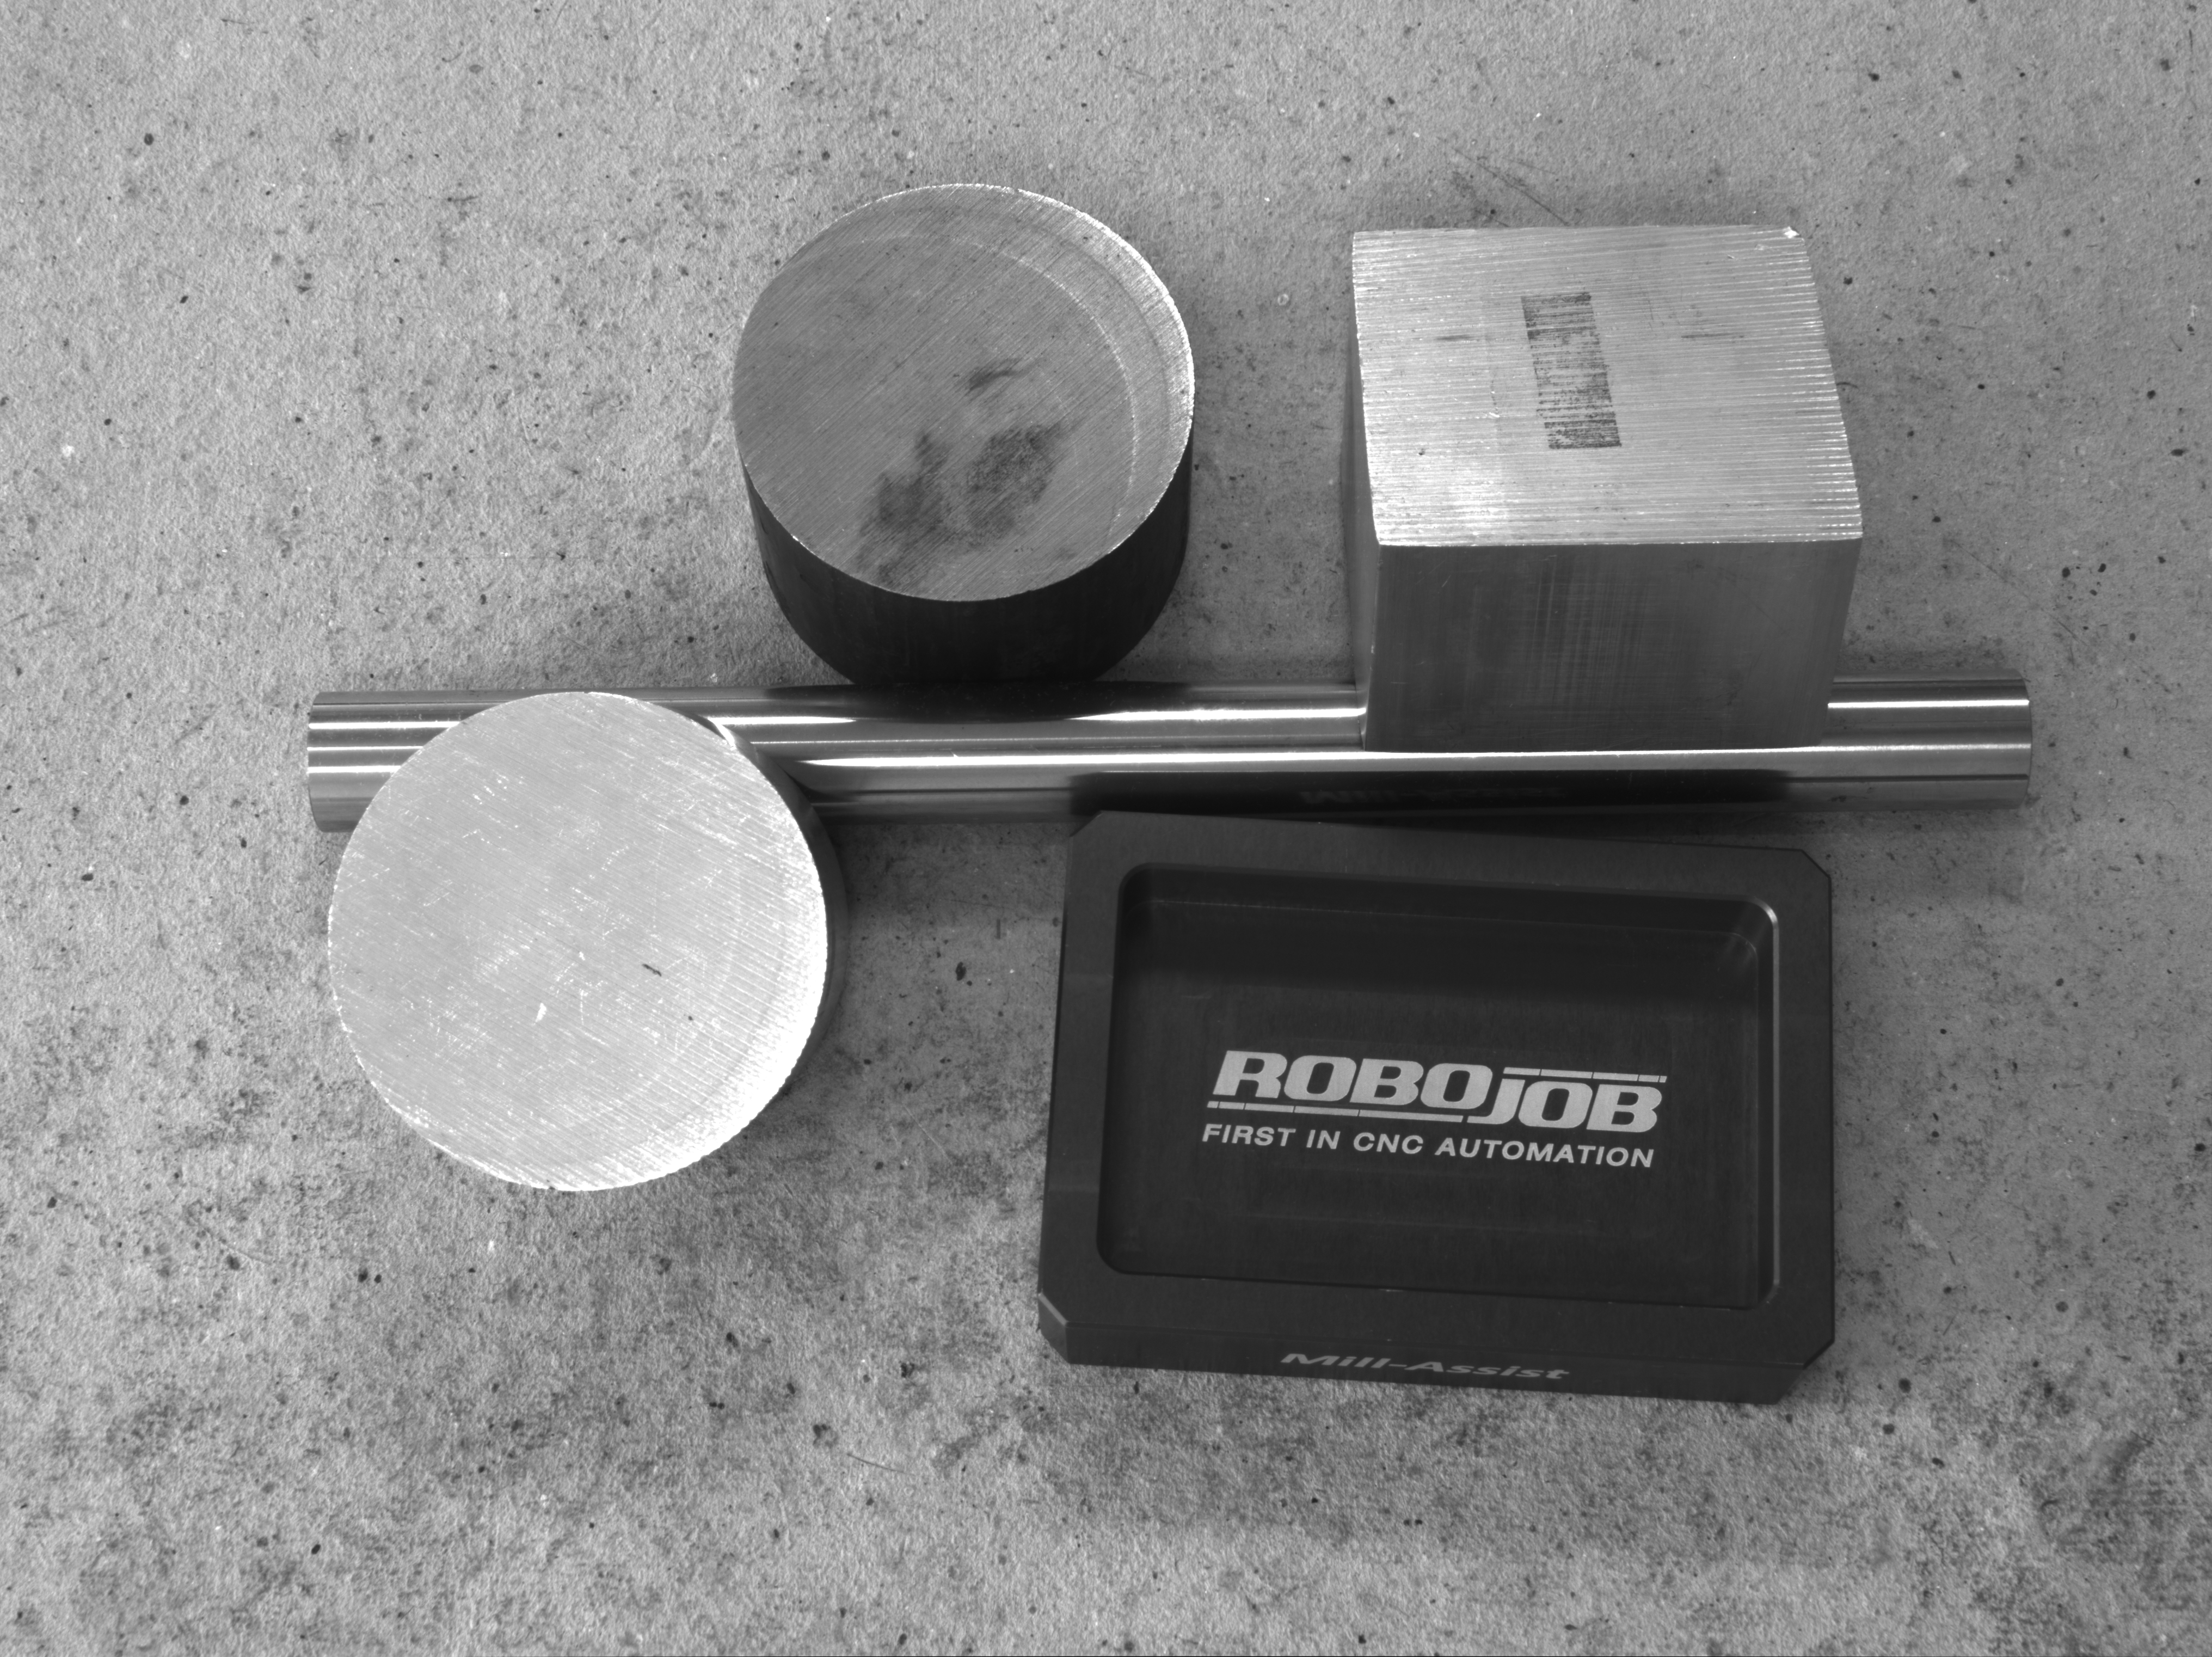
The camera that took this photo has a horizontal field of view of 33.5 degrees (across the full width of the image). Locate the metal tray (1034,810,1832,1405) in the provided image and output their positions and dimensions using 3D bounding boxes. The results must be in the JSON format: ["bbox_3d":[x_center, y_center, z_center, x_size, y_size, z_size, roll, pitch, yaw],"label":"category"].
[{"bbox_3d":[0.056,0.047,0.625,0.130,0.030,0.090,3,70,1],"label":"metal tray"}]

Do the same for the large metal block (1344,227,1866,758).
[{"bbox_3d":[0.083,-0.059,0.641,0.080,0.050,0.080,-1,49,0],"label":"large metal block"}]

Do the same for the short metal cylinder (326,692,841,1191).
[{"bbox_3d":[-0.085,0.018,0.613,0.080,0.050,0.080,0,90,-1],"label":"short metal cylinder"}]

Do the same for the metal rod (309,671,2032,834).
[{"bbox_3d":[0.011,-0.013,0.652,0.300,0.025,0.025,-1,70,0],"label":"metal rod"}]

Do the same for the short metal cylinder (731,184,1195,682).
[{"bbox_3d":[-0.025,-0.067,0.657,0.080,0.050,0.080,0,69,0],"label":"short metal cylinder"}]
